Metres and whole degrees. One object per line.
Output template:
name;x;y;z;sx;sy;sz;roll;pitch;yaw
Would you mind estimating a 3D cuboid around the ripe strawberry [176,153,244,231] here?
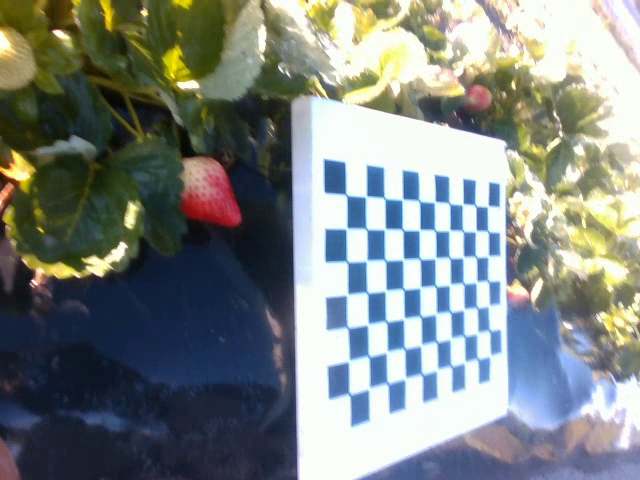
ripe strawberry;-0.074;-0.026;0.431;0.040;0.040;0.065;-3;-43;41
